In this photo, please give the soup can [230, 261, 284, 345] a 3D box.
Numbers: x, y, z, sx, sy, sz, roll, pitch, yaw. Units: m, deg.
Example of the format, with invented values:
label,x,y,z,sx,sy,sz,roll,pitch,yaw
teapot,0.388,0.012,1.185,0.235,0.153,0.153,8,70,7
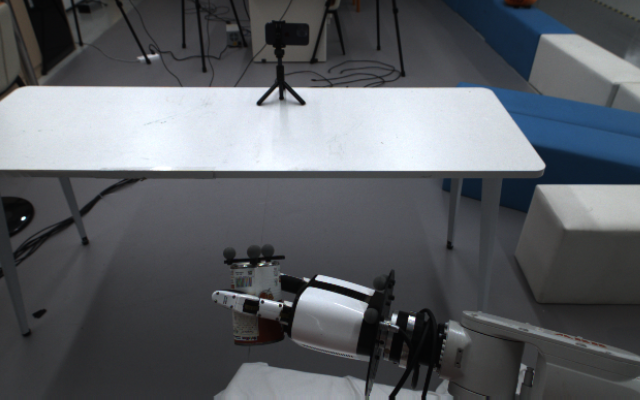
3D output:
label,x,y,z,sx,sy,sz,roll,pitch,yaw
soup can,-0.080,0.135,0.639,0.067,0.101,0.067,-5,-5,0
